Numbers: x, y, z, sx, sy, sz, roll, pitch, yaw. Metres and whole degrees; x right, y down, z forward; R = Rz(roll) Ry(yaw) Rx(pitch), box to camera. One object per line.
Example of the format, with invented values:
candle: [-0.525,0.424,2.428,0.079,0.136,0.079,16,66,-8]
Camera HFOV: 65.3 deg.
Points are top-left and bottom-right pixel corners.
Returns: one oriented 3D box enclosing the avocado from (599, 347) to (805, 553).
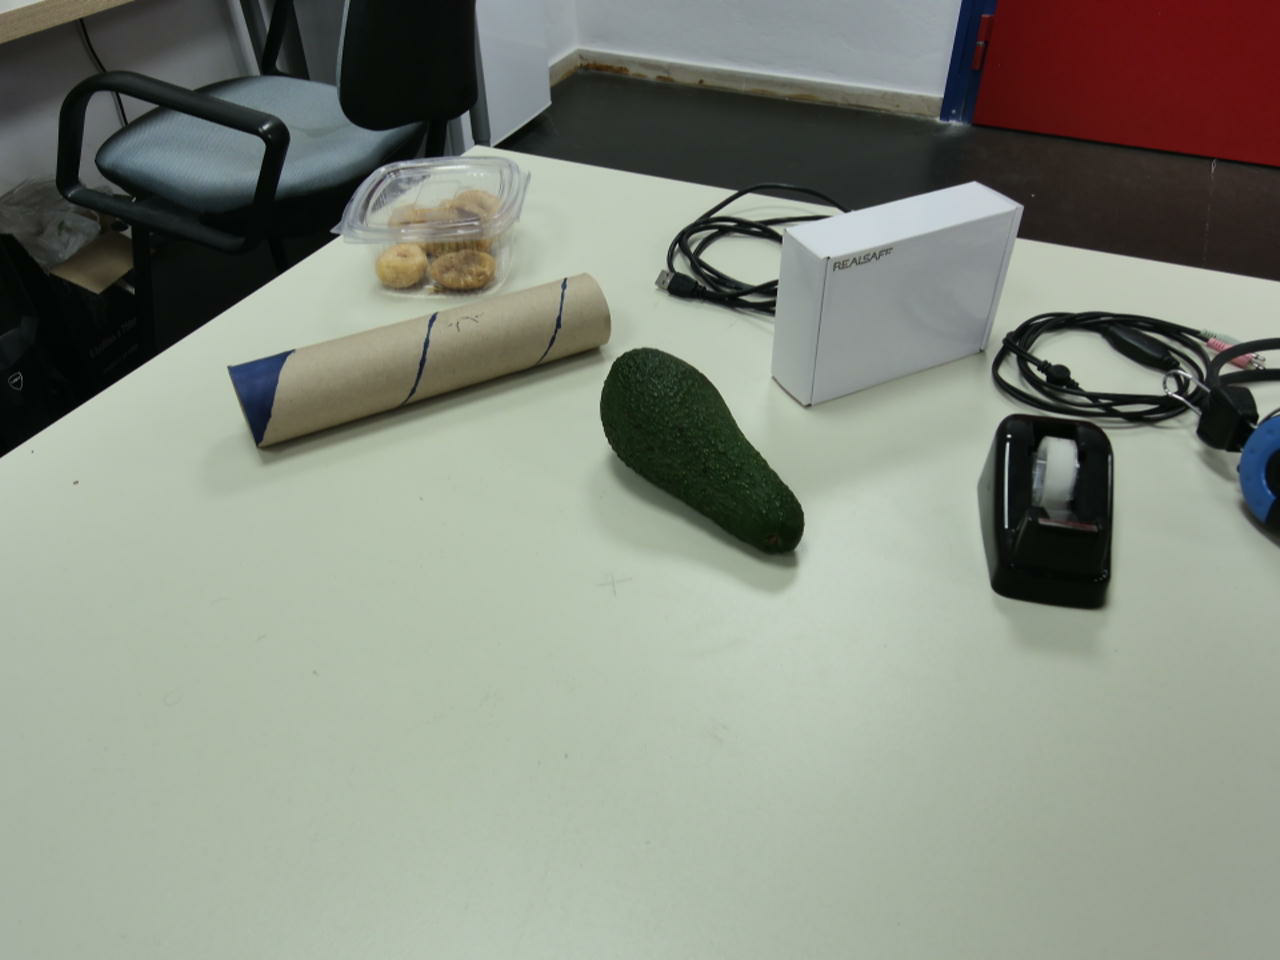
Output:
avocado: [0.035,-0.022,0.517,0.141,0.067,0.063,27,46,31]
